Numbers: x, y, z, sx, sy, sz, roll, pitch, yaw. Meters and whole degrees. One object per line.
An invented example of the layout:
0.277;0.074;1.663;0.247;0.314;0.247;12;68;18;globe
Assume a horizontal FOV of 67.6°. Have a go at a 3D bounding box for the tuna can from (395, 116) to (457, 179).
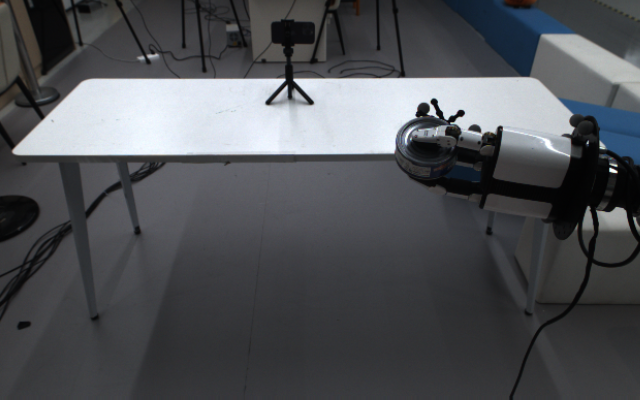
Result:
0.148;-0.074;0.661;0.085;0.034;0.085;-4;58;6;tuna can
